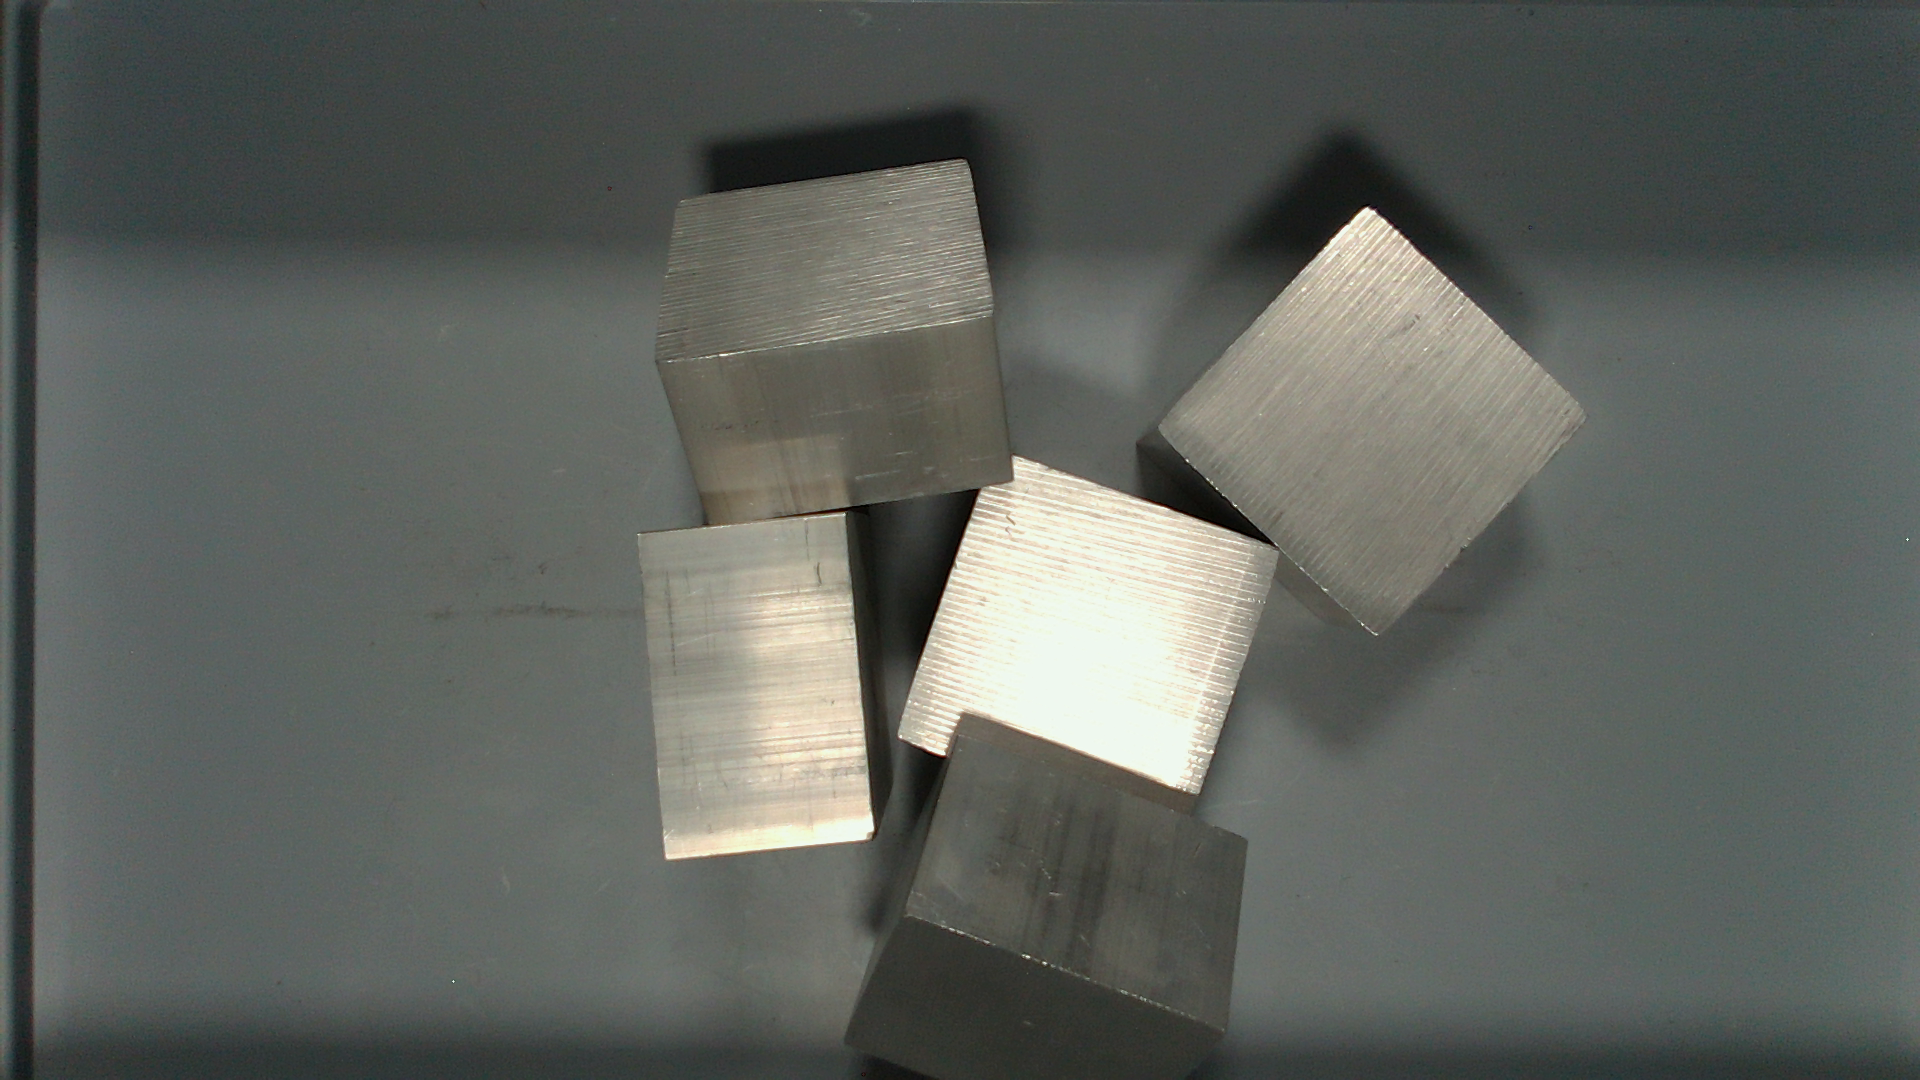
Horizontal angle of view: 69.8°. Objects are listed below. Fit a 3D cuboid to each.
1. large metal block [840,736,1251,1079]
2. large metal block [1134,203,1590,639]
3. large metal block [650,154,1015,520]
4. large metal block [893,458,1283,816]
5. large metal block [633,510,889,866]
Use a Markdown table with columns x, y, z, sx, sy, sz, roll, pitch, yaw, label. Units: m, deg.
| x | y | z | sx | sy | sz | roll | pitch | yaw | label |
| --- | --- | --- | --- | --- | --- | --- | --- | --- | --- |
| 0.021 | 0.105 | 0.361 | 0.080 | 0.080 | 0.050 | 20 | 48 | -1 | large metal block |
| 0.107 | -0.031 | 0.382 | 0.080 | 0.050 | 0.080 | 44 | 90 | 0 | large metal block |
| -0.031 | -0.055 | 0.361 | 0.080 | 0.080 | 0.050 | -8 | 132 | 1 | large metal block |
| 0.033 | 0.027 | 0.383 | 0.080 | 0.050 | 0.080 | 19 | 90 | 0 | large metal block |
| -0.049 | 0.035 | 0.367 | 0.050 | 0.080 | 0.080 | -6 | 90 | 0 | large metal block |
